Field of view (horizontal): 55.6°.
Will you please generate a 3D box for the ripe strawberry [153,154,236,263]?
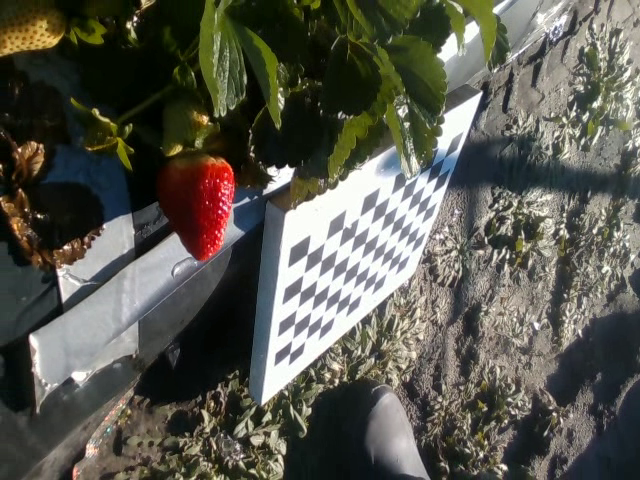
[{"bbox_3d":[-0.074,-0.019,0.393,0.057,0.065,0.061,-13,-5,26],"label":"ripe strawberry"}]
